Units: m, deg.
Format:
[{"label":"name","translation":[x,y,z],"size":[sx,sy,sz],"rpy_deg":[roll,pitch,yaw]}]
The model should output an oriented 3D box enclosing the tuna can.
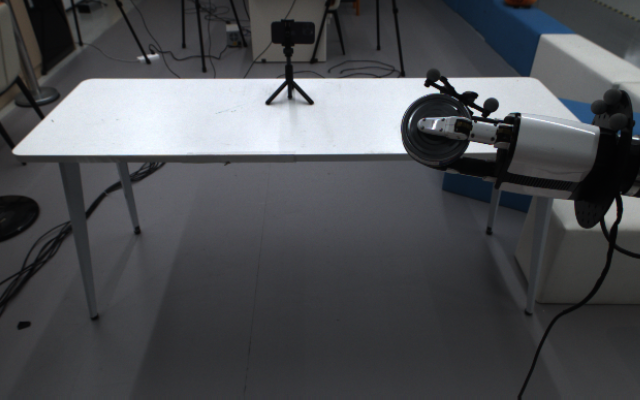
[{"label":"tuna can","translation":[0.145,-0.088,0.597],"size":[0.085,0.085,0.034],"rpy_deg":[13,-4,15]}]
